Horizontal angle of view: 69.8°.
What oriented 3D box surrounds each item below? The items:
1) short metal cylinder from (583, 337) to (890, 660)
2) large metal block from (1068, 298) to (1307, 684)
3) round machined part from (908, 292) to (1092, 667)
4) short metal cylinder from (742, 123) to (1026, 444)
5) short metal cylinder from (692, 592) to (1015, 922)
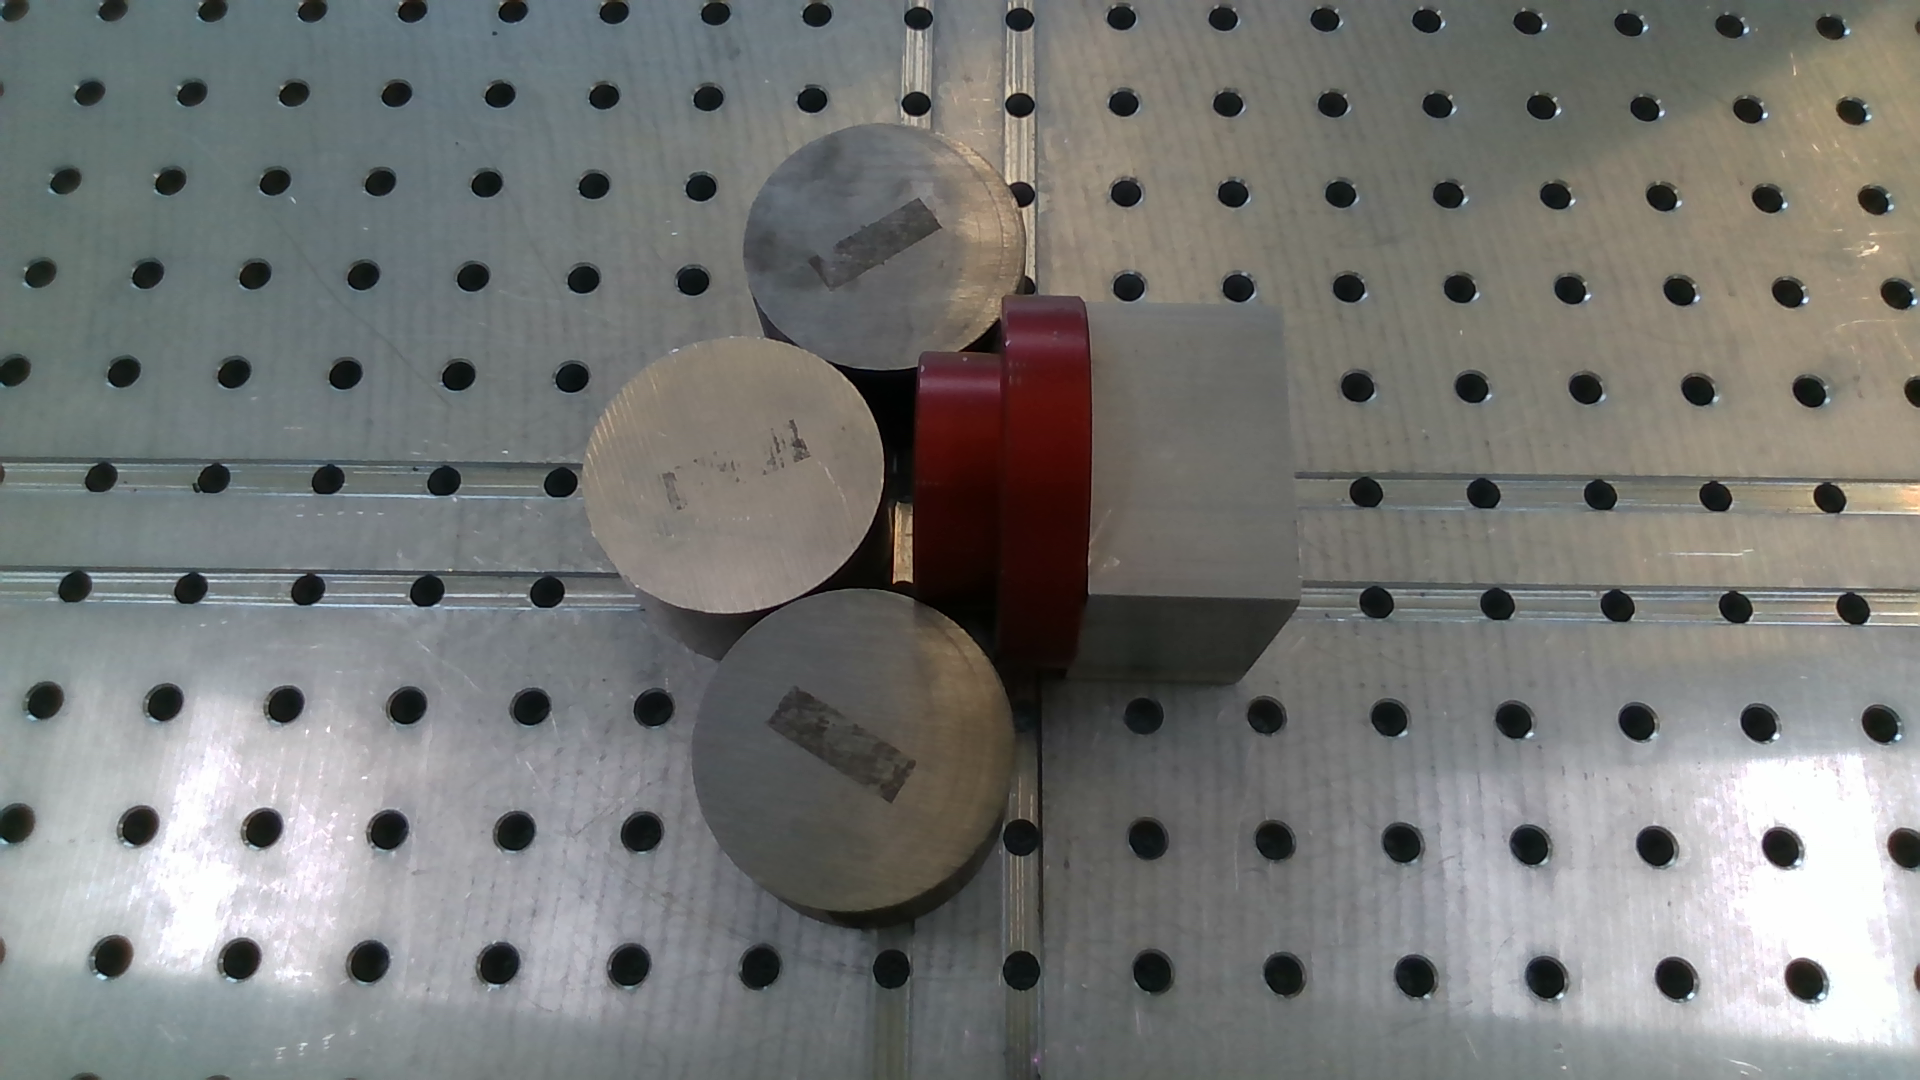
[{"bbox_3d":[-0.060,-0.010,0.389,0.080,0.050,0.080,0,70,0],"label":"short metal cylinder"},{"bbox_3d":[0.056,-0.010,0.372,0.050,0.080,0.080,1,70,0],"label":"large metal block"},{"bbox_3d":[0.009,-0.016,0.363,0.042,0.098,0.098,2,70,0],"label":"round machined part"},{"bbox_3d":[-0.021,-0.076,0.412,0.080,0.050,0.080,0,70,0],"label":"short metal cylinder"},{"bbox_3d":[-0.026,0.059,0.364,0.080,0.050,0.080,0,70,0],"label":"short metal cylinder"}]
